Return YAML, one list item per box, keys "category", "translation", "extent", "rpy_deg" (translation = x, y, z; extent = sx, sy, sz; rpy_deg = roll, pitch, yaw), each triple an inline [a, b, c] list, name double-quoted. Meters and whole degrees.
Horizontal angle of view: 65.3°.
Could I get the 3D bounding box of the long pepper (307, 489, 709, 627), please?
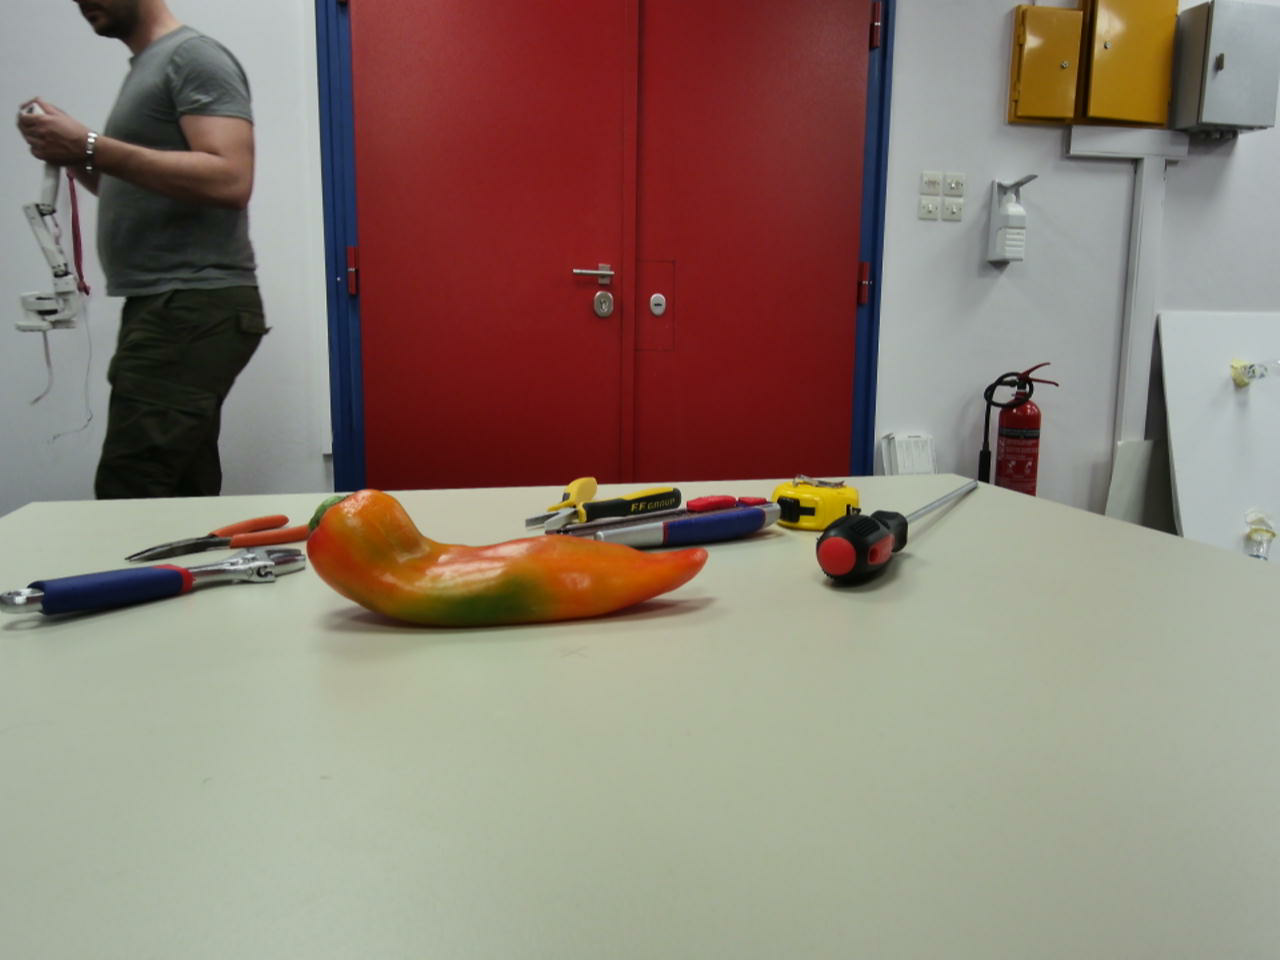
- category: "long pepper"
  translation: [-0.062, 0.035, 0.495]
  extent: [0.199, 0.065, 0.066]
  rpy_deg: [-1, 7, -8]
